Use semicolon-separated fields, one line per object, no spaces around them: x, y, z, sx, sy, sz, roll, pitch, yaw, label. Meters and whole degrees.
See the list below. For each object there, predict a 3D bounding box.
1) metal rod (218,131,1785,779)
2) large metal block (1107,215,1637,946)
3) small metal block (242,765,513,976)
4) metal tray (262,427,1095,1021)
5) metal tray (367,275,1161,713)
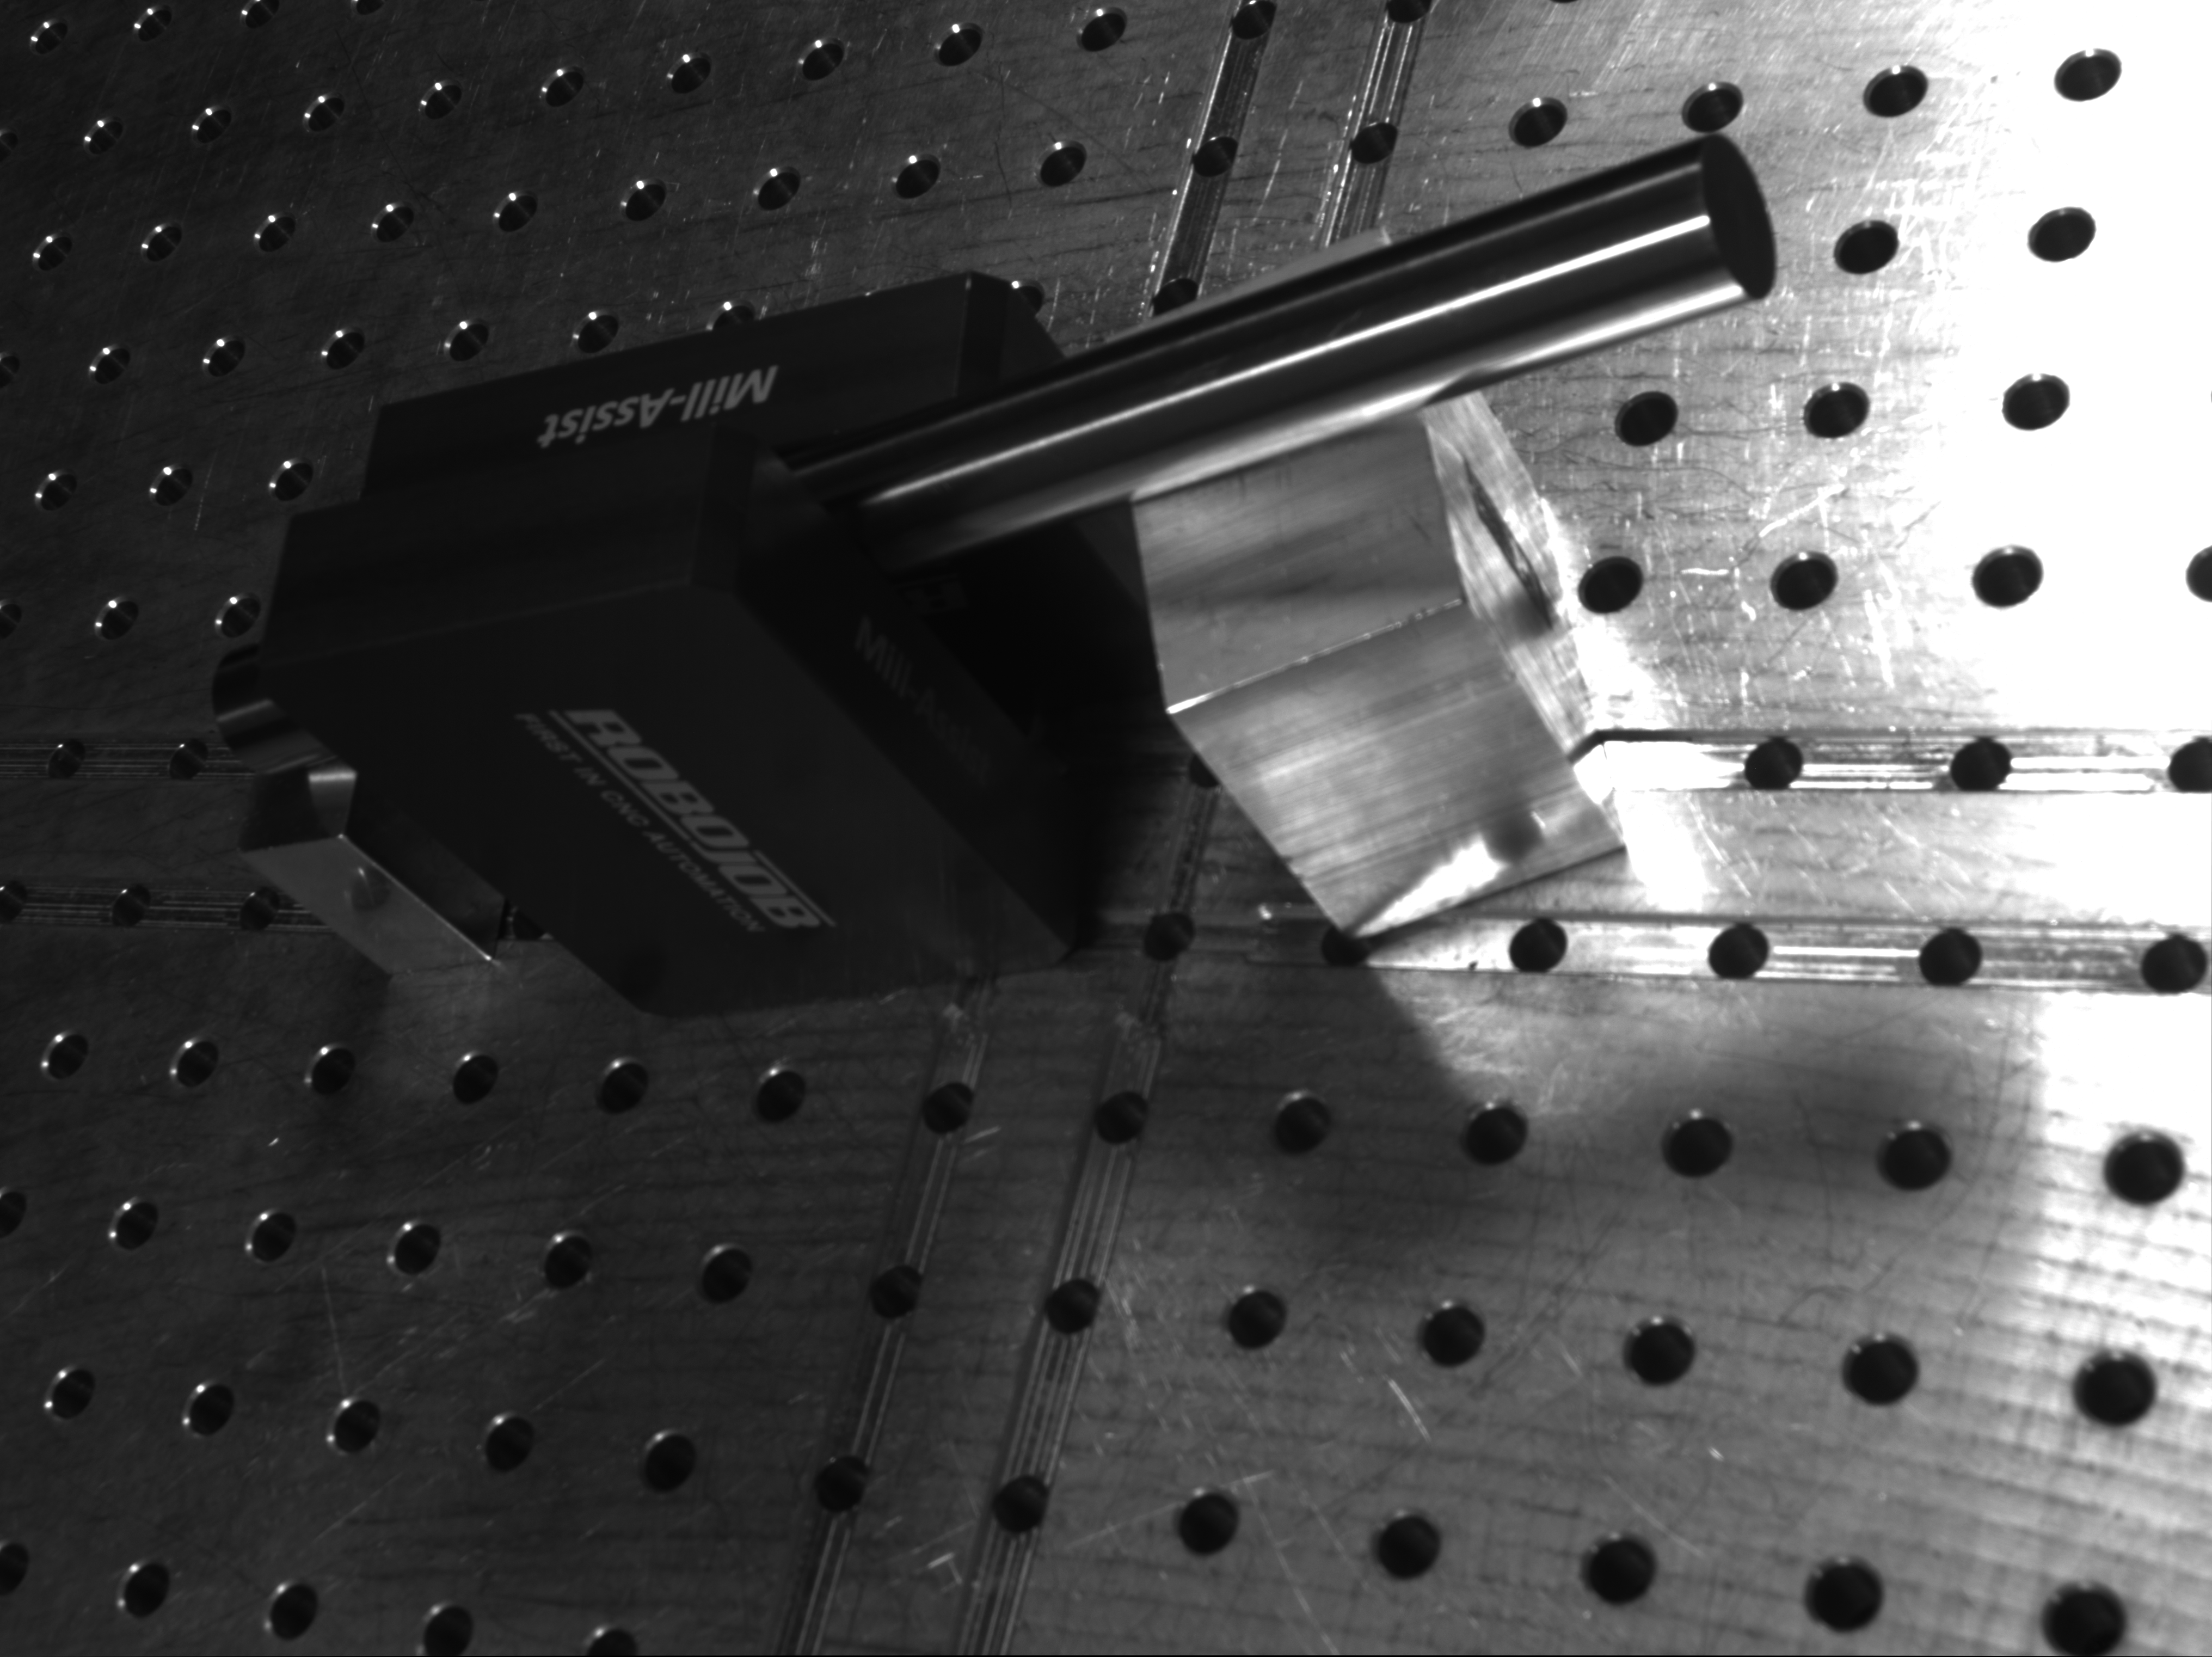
-0.032;-0.054;0.600;0.299;0.025;0.025;-15;55;32;metal rod
0.044;-0.040;0.611;0.050;0.080;0.080;-21;54;16;large metal block
-0.137;-0.006;0.708;0.025;0.050;0.050;-8;58;24;small metal block
-0.069;-0.013;0.625;0.090;0.130;0.030;-9;58;23;metal tray
-0.058;-0.051;0.667;0.130;0.090;0.030;-9;59;24;metal tray
